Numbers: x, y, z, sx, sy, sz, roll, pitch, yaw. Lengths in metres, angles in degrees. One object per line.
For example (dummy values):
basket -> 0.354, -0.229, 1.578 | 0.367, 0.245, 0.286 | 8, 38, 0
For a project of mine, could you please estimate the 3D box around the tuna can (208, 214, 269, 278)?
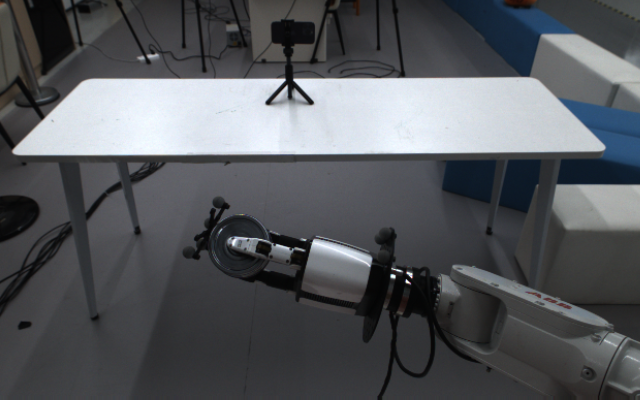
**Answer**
tuna can -> -0.107, 0.062, 0.665 | 0.085, 0.034, 0.085 | 0, 75, -2
